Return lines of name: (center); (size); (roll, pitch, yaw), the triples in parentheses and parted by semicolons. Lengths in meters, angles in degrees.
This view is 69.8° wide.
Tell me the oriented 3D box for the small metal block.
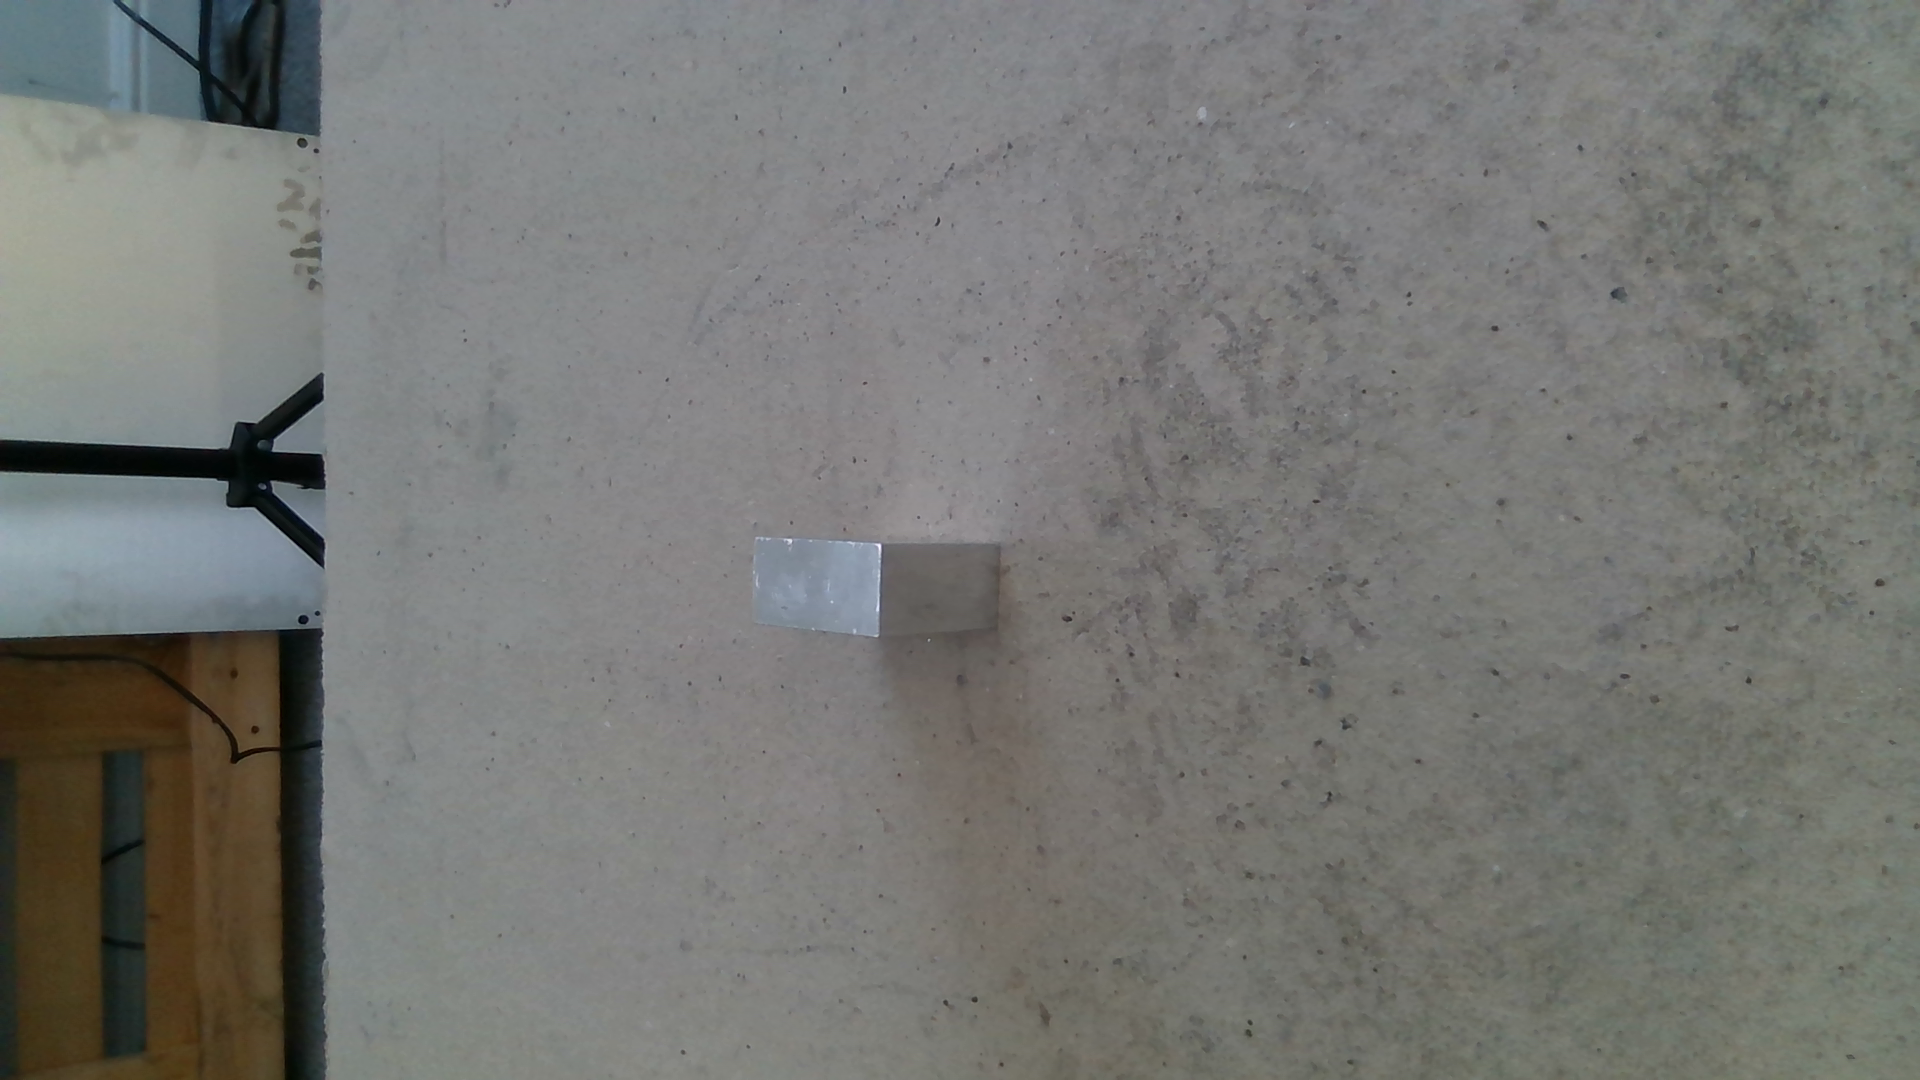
small metal block: (-0.024, 0.012, 0.395); (0.050, 0.050, 0.025); (3, 93, 40)
